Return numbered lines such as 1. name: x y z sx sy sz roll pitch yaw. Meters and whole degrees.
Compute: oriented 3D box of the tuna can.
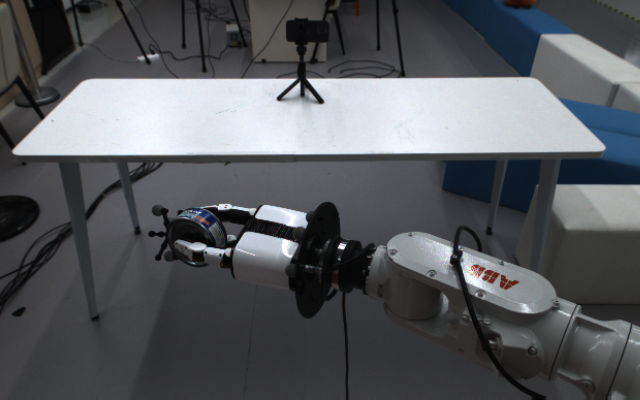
1. tuna can: -0.179 0.058 0.708 0.085 0.085 0.034 12 29 14
